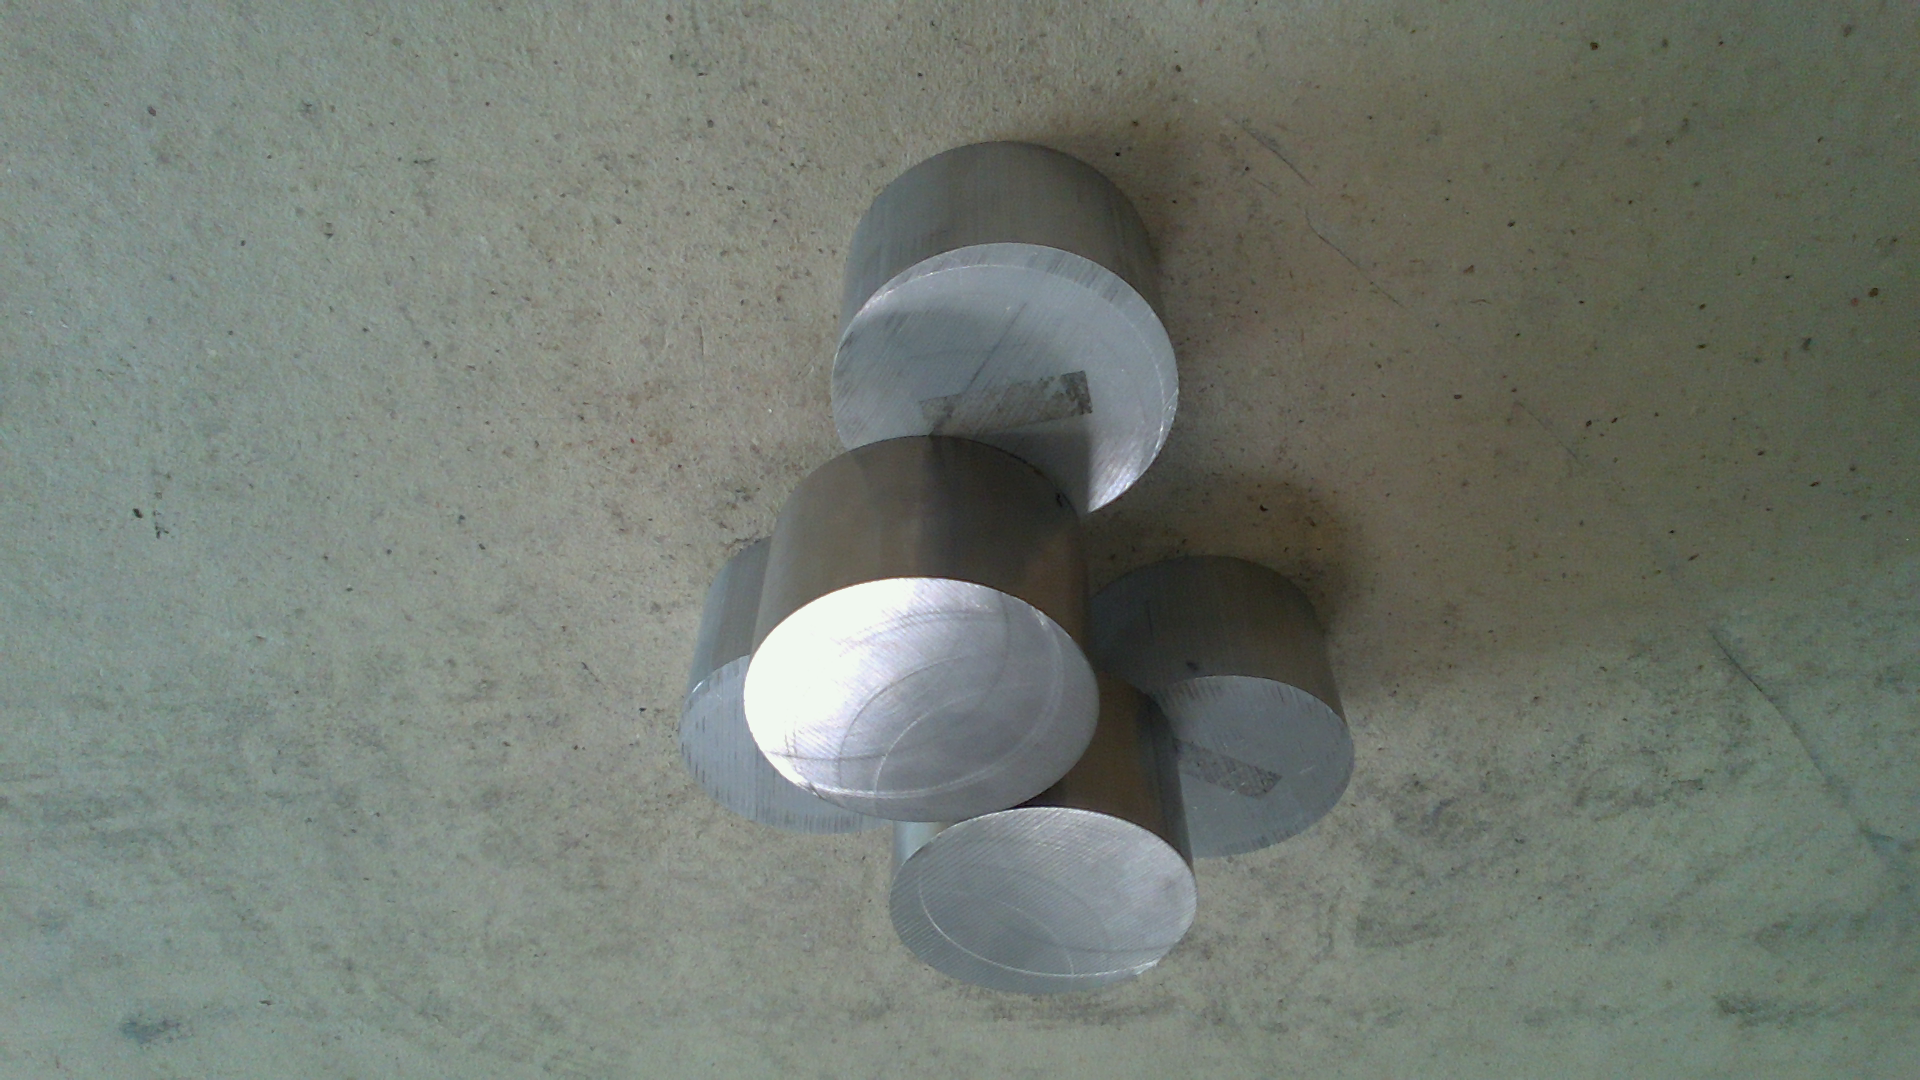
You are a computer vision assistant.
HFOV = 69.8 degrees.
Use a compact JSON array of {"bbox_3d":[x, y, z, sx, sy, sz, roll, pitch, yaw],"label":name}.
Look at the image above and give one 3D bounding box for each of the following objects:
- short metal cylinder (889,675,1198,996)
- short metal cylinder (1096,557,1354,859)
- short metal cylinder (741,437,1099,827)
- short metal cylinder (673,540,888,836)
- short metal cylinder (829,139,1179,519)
[{"bbox_3d":[0.021,0.080,0.375,0.080,0.050,0.080,-1,130,0],"label":"short metal cylinder"},{"bbox_3d":[0.074,0.052,0.418,0.080,0.050,0.080,0,130,0],"label":"short metal cylinder"},{"bbox_3d":[-0.009,0.023,0.327,0.080,0.050,0.080,0,130,0],"label":"short metal cylinder"},{"bbox_3d":[-0.041,0.043,0.410,0.080,0.050,0.080,0,130,0],"label":"short metal cylinder"},{"bbox_3d":[0.010,-0.049,0.334,0.080,0.050,0.080,0,130,0],"label":"short metal cylinder"}]
